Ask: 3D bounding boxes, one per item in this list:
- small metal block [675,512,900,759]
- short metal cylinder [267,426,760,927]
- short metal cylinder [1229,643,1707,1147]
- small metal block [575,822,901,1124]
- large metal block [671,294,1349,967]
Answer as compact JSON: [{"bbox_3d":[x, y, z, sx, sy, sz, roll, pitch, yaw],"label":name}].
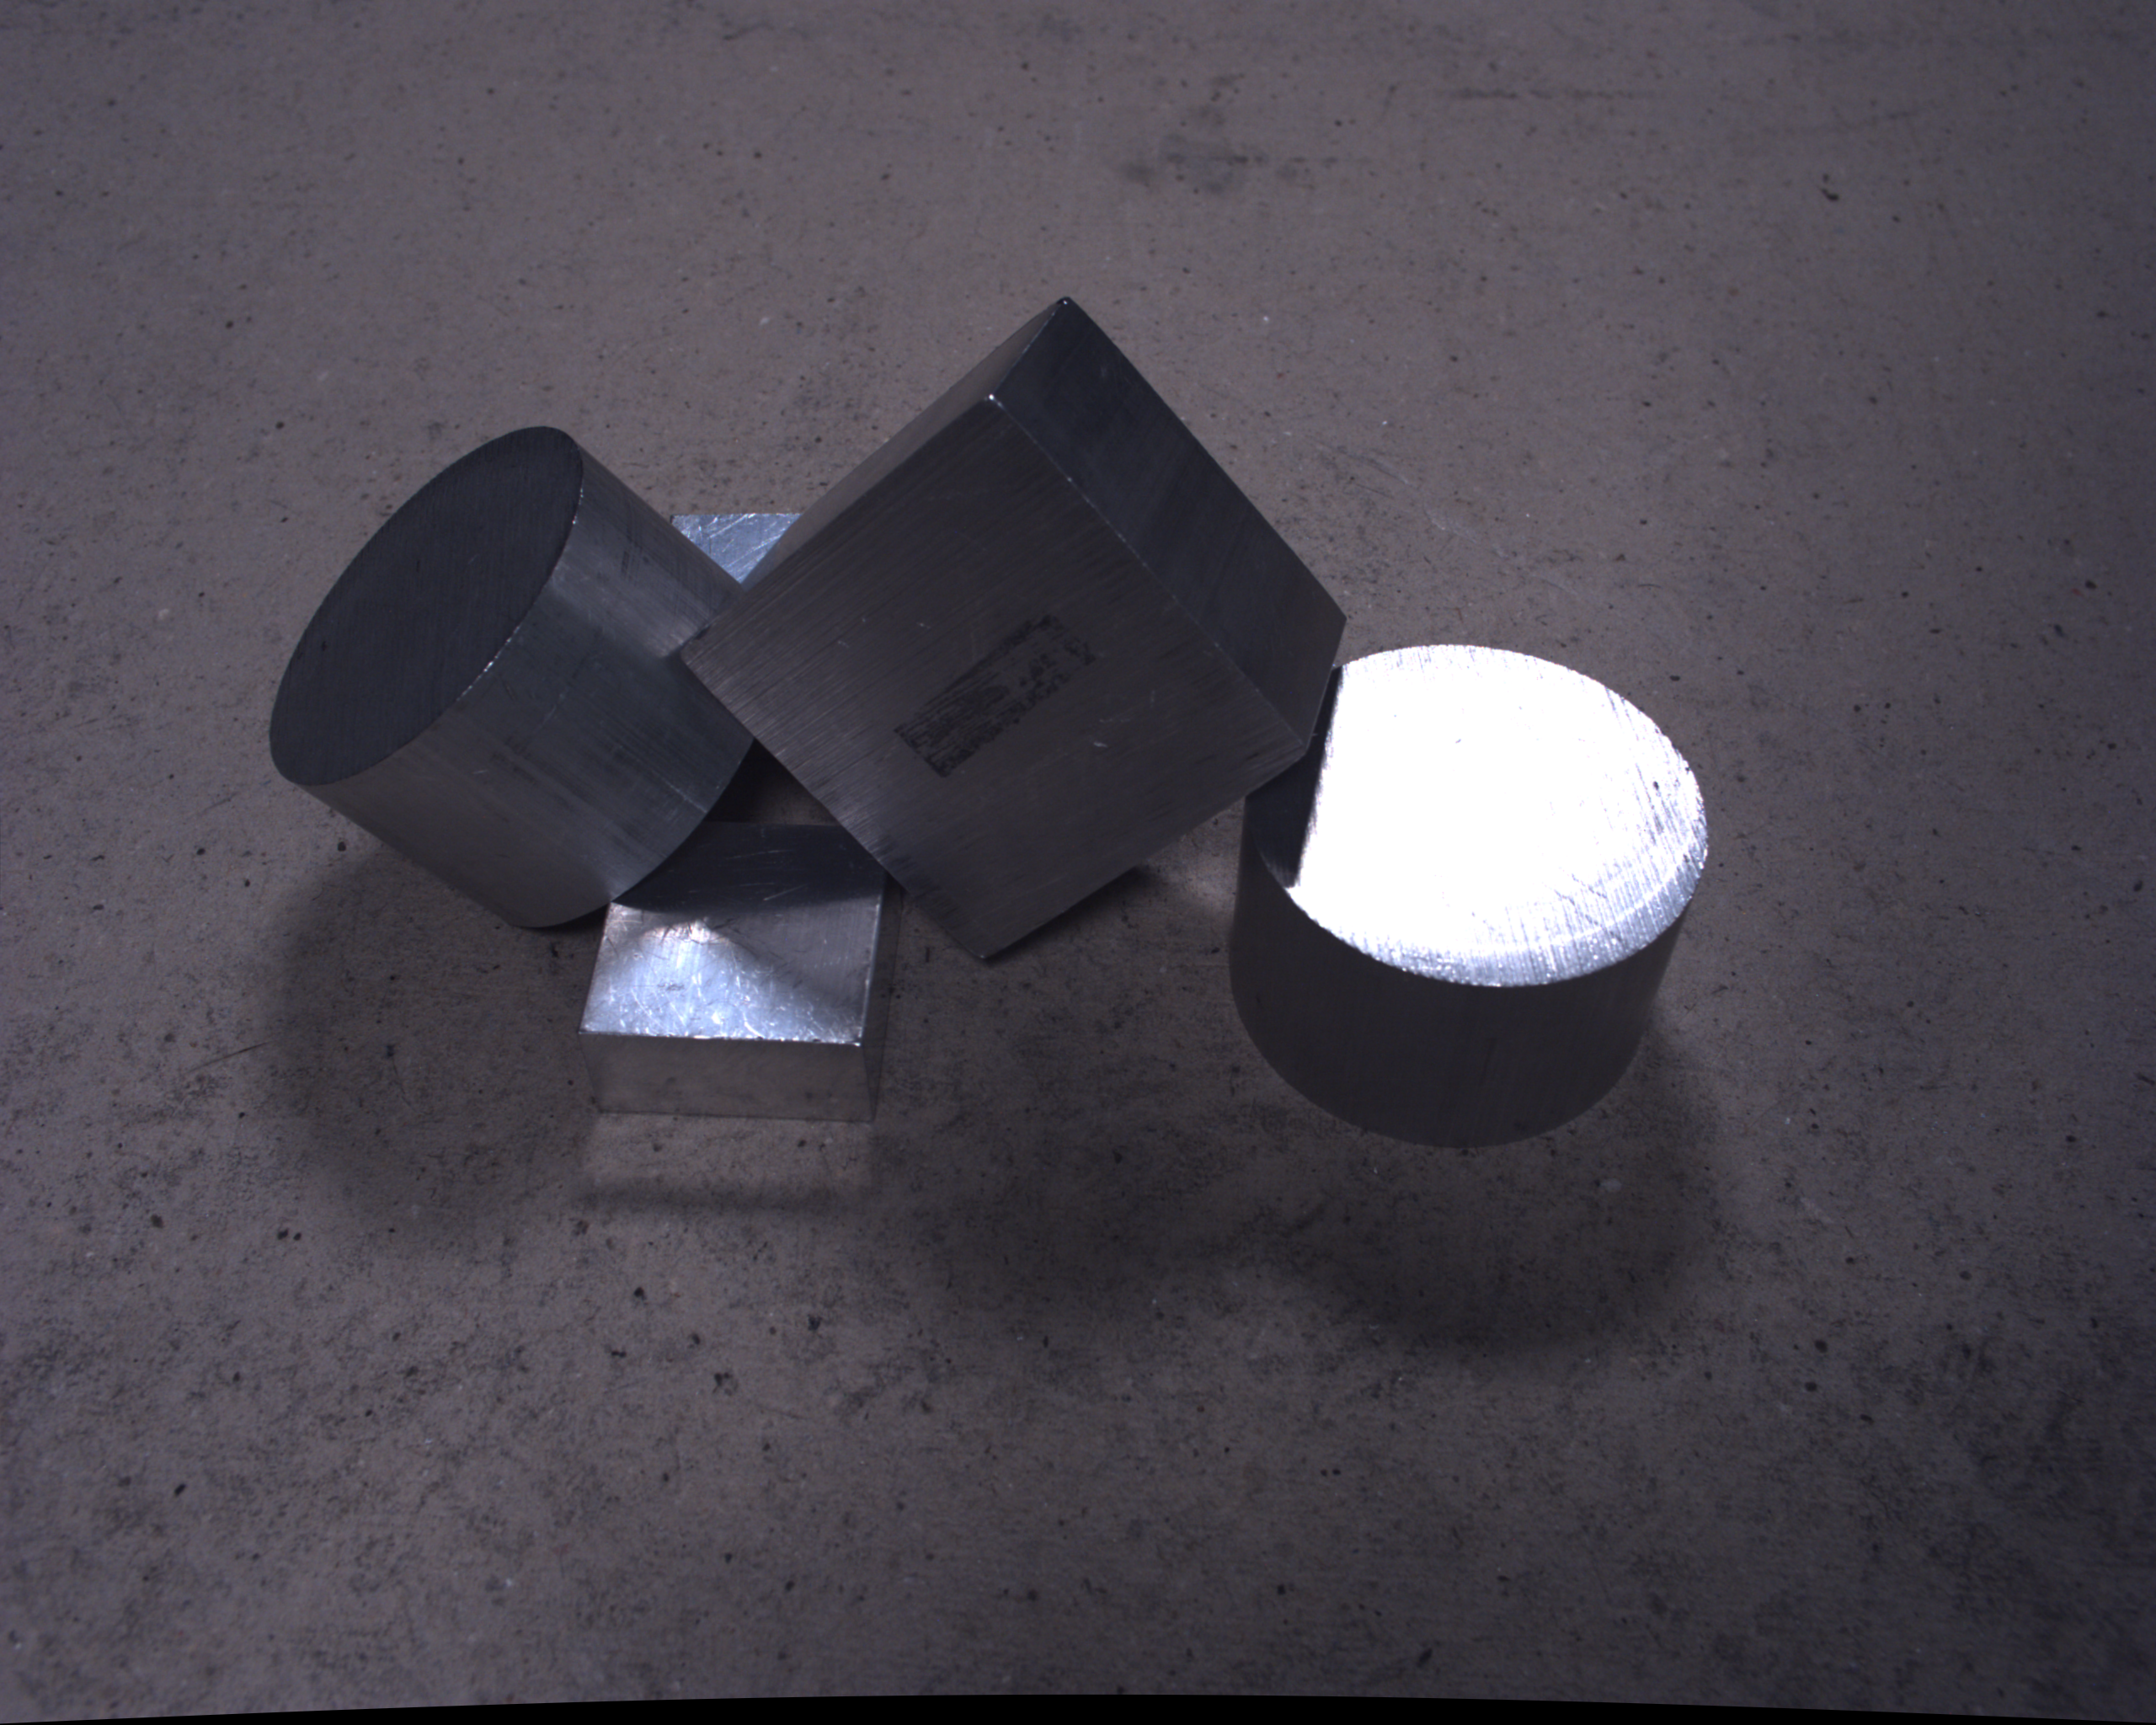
[{"bbox_3d":[-0.063,-0.049,0.445,0.050,0.025,0.050,-1,50,-1],"label":"small metal block"},{"bbox_3d":[-0.104,-0.035,0.393,0.080,0.050,0.080,-24,45,27],"label":"short metal cylinder"},{"bbox_3d":[0.069,0.005,0.385,0.081,0.050,0.080,0,50,0],"label":"short metal cylinder"},{"bbox_3d":[-0.061,0.020,0.387,0.050,0.025,0.050,2,50,1],"label":"small metal block"},{"bbox_3d":[-0.011,-0.040,0.379,0.080,0.080,0.050,47,32,-16],"label":"large metal block"}]
